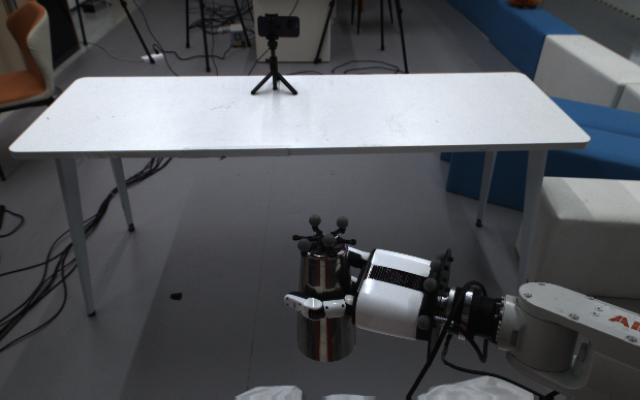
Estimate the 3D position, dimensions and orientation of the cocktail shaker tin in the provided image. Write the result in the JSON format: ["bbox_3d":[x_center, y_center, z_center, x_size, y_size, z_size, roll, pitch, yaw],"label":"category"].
[{"bbox_3d":[0.010,0.138,0.707,0.093,0.170,0.093,-1,26,1],"label":"cocktail shaker tin"}]
